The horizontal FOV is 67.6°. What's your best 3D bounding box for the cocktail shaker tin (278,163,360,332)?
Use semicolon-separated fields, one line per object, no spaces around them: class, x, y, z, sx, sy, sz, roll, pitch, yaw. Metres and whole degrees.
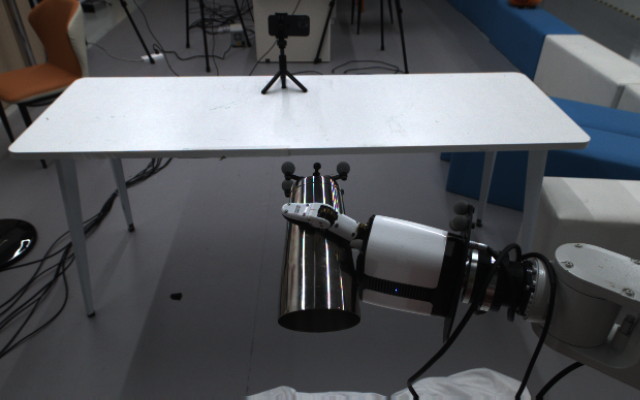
cocktail shaker tin;-0.003;0.060;0.569;0.093;0.093;0.170;0;59;-3
